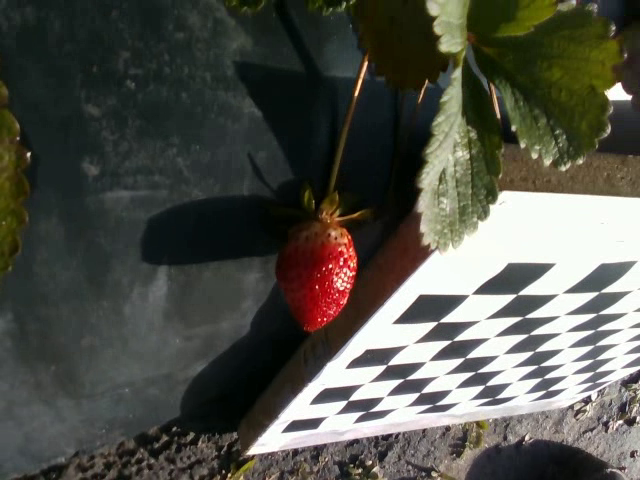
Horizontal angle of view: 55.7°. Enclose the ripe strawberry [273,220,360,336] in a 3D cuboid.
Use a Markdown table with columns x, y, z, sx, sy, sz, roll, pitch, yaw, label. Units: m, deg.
| x | y | z | sx | sy | sz | roll | pitch | yaw | label |
| --- | --- | --- | --- | --- | --- | --- | --- | --- | --- |
| 0.000 | 0.012 | 0.181 | 0.034 | 0.038 | 0.033 | 0 | 4 | -25 | ripe strawberry |
